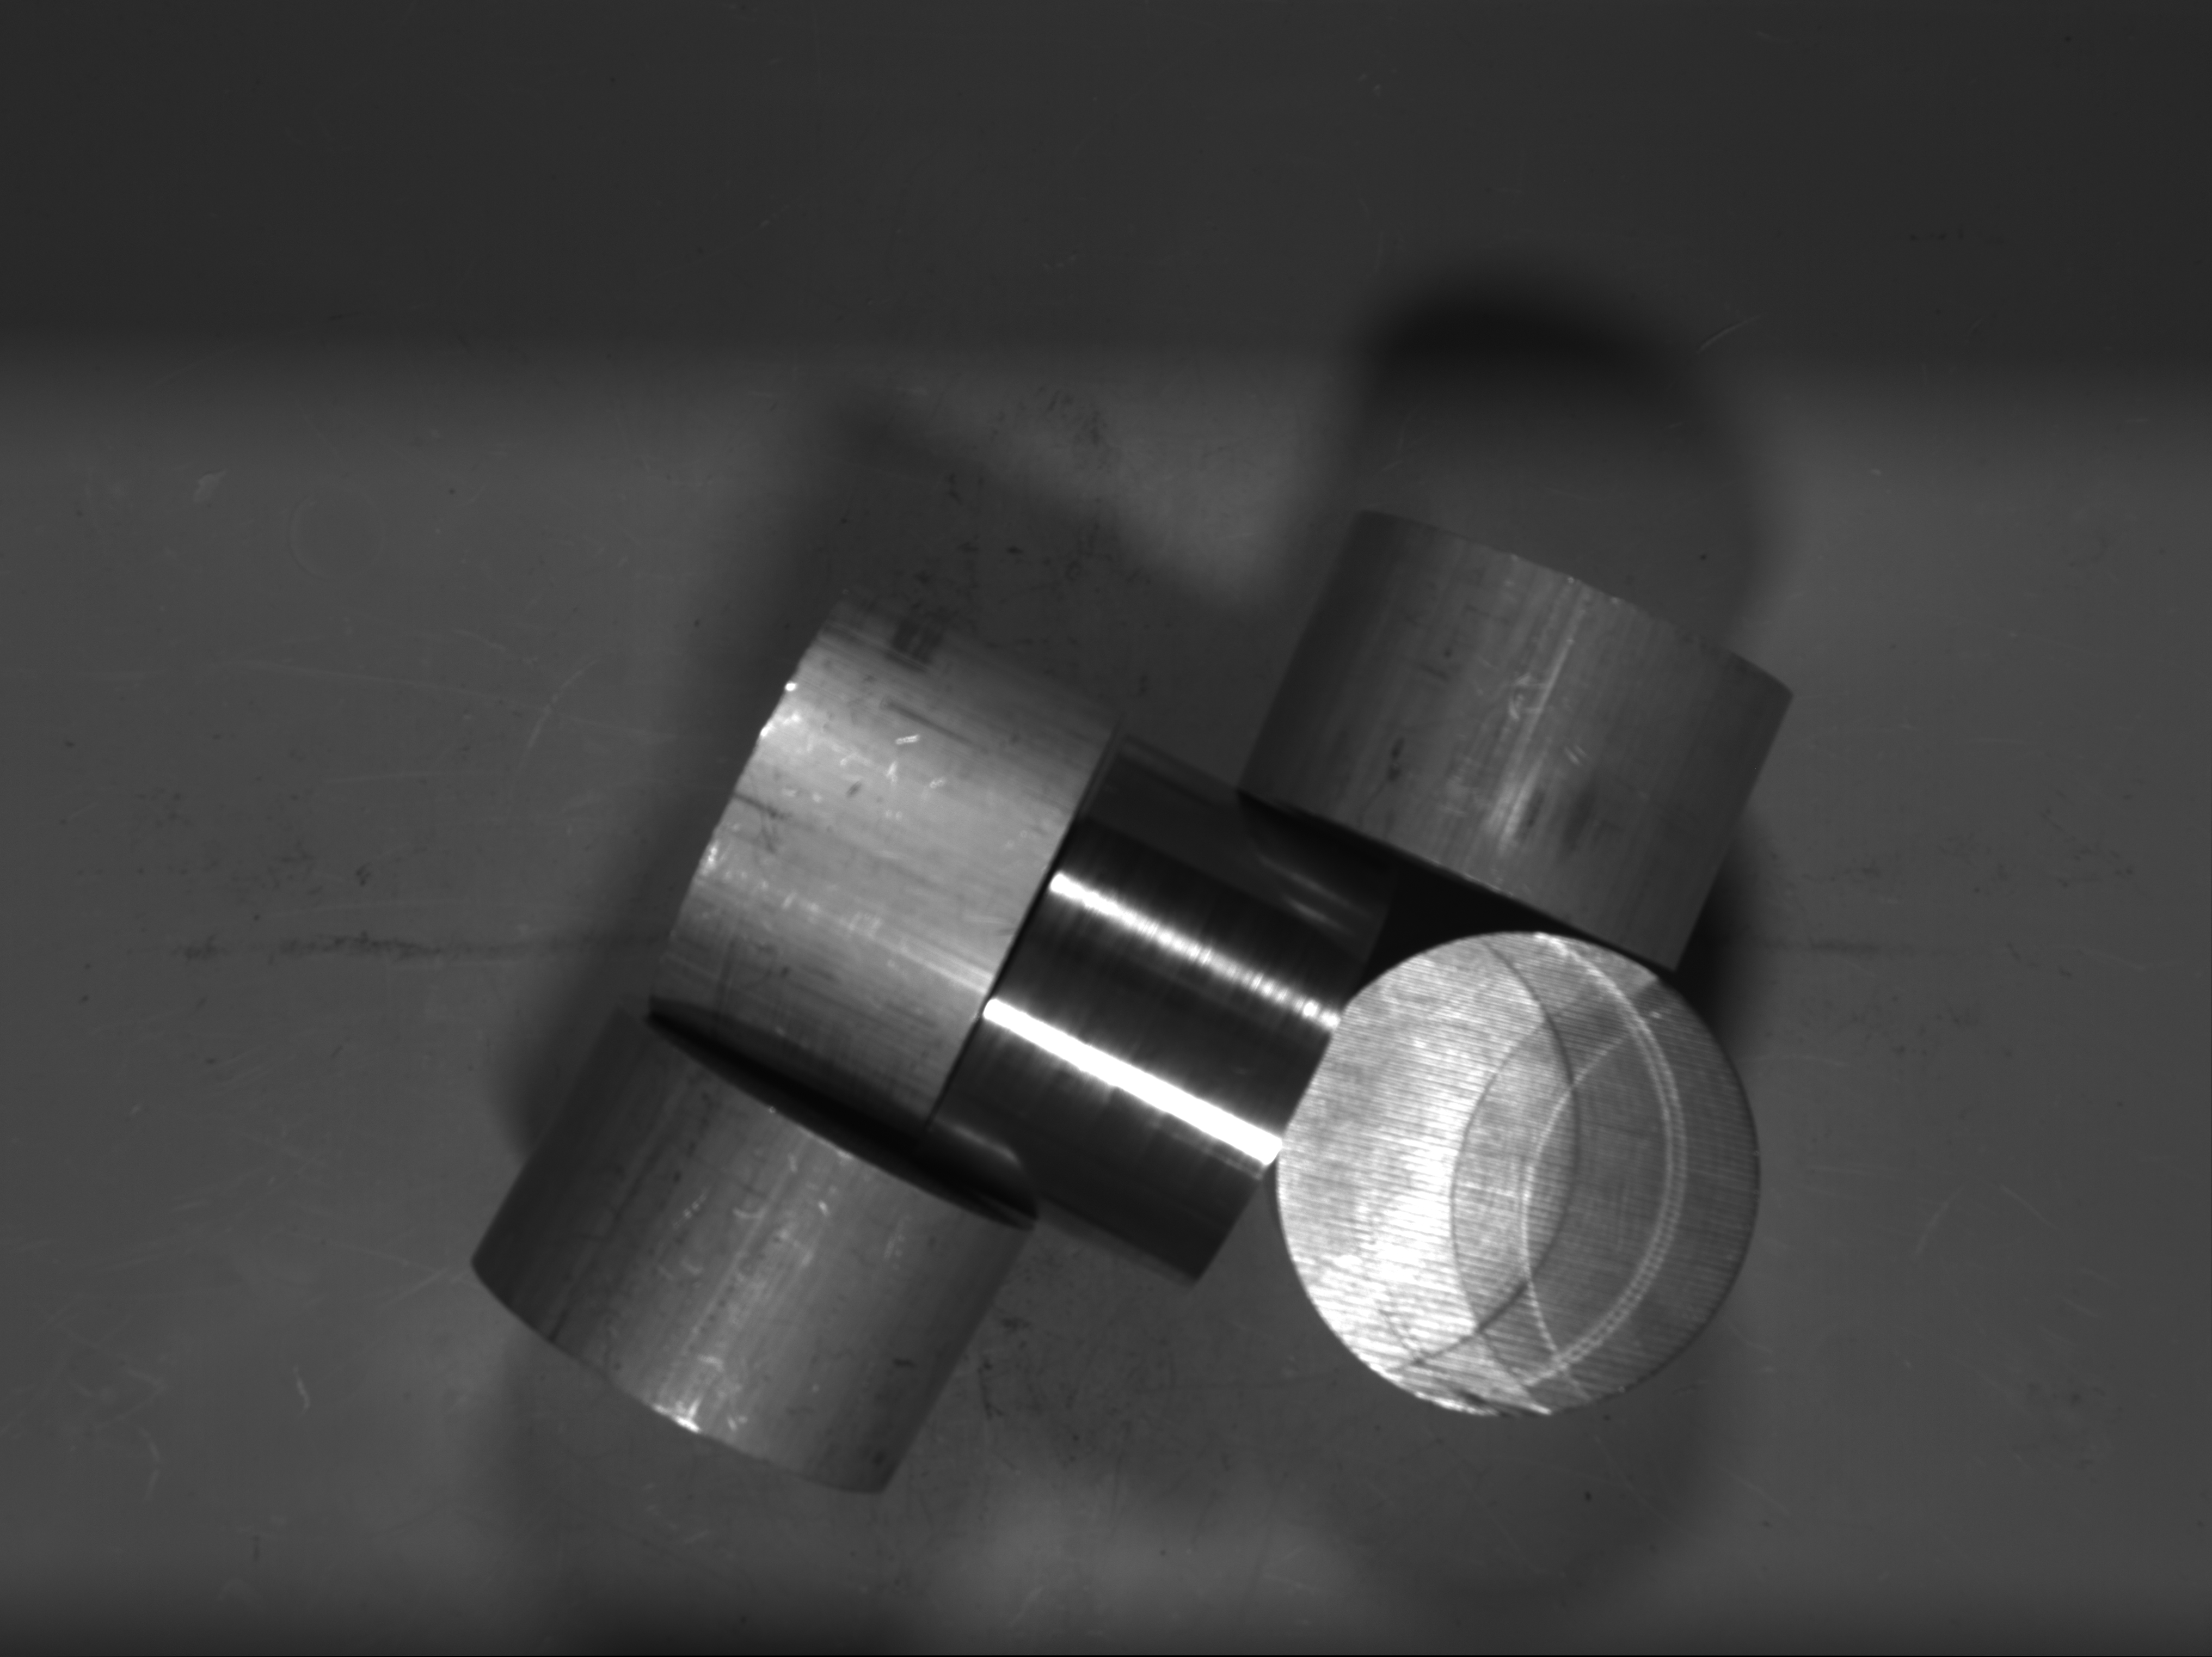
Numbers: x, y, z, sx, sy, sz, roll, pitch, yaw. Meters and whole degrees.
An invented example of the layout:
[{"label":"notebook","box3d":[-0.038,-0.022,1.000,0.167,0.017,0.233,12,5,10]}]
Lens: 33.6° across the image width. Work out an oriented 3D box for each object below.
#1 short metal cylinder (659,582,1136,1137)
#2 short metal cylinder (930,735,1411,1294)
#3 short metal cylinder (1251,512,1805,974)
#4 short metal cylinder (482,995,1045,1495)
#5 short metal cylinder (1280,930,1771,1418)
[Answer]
[{"label":"short metal cylinder","box3d":[-0.035,0.005,0.616,0.050,0.080,0.080,26,90,0]},{"label":"short metal cylinder","box3d":[0.011,0.031,0.617,0.050,0.080,0.080,27,90,0]},{"label":"short metal cylinder","box3d":[0.071,-0.014,0.617,0.080,0.080,0.050,23,90,0]},{"label":"short metal cylinder","box3d":[-0.057,0.069,0.616,0.080,0.080,0.050,29,90,0]},{"label":"short metal cylinder","box3d":[0.070,0.058,0.632,0.080,0.050,0.080,0,90,0]}]
